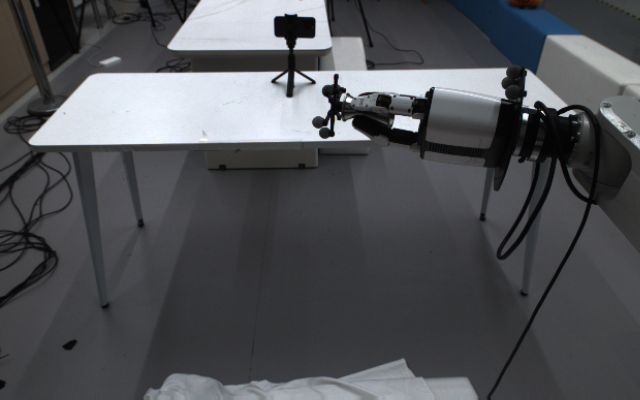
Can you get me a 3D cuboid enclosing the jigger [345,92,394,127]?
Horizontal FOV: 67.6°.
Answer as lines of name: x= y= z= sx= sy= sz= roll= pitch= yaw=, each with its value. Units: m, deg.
jigger: x=0.069 y=-0.131 z=0.672 sx=0.071 sy=0.043 sz=0.043 roll=9 pitch=35 yaw=16
